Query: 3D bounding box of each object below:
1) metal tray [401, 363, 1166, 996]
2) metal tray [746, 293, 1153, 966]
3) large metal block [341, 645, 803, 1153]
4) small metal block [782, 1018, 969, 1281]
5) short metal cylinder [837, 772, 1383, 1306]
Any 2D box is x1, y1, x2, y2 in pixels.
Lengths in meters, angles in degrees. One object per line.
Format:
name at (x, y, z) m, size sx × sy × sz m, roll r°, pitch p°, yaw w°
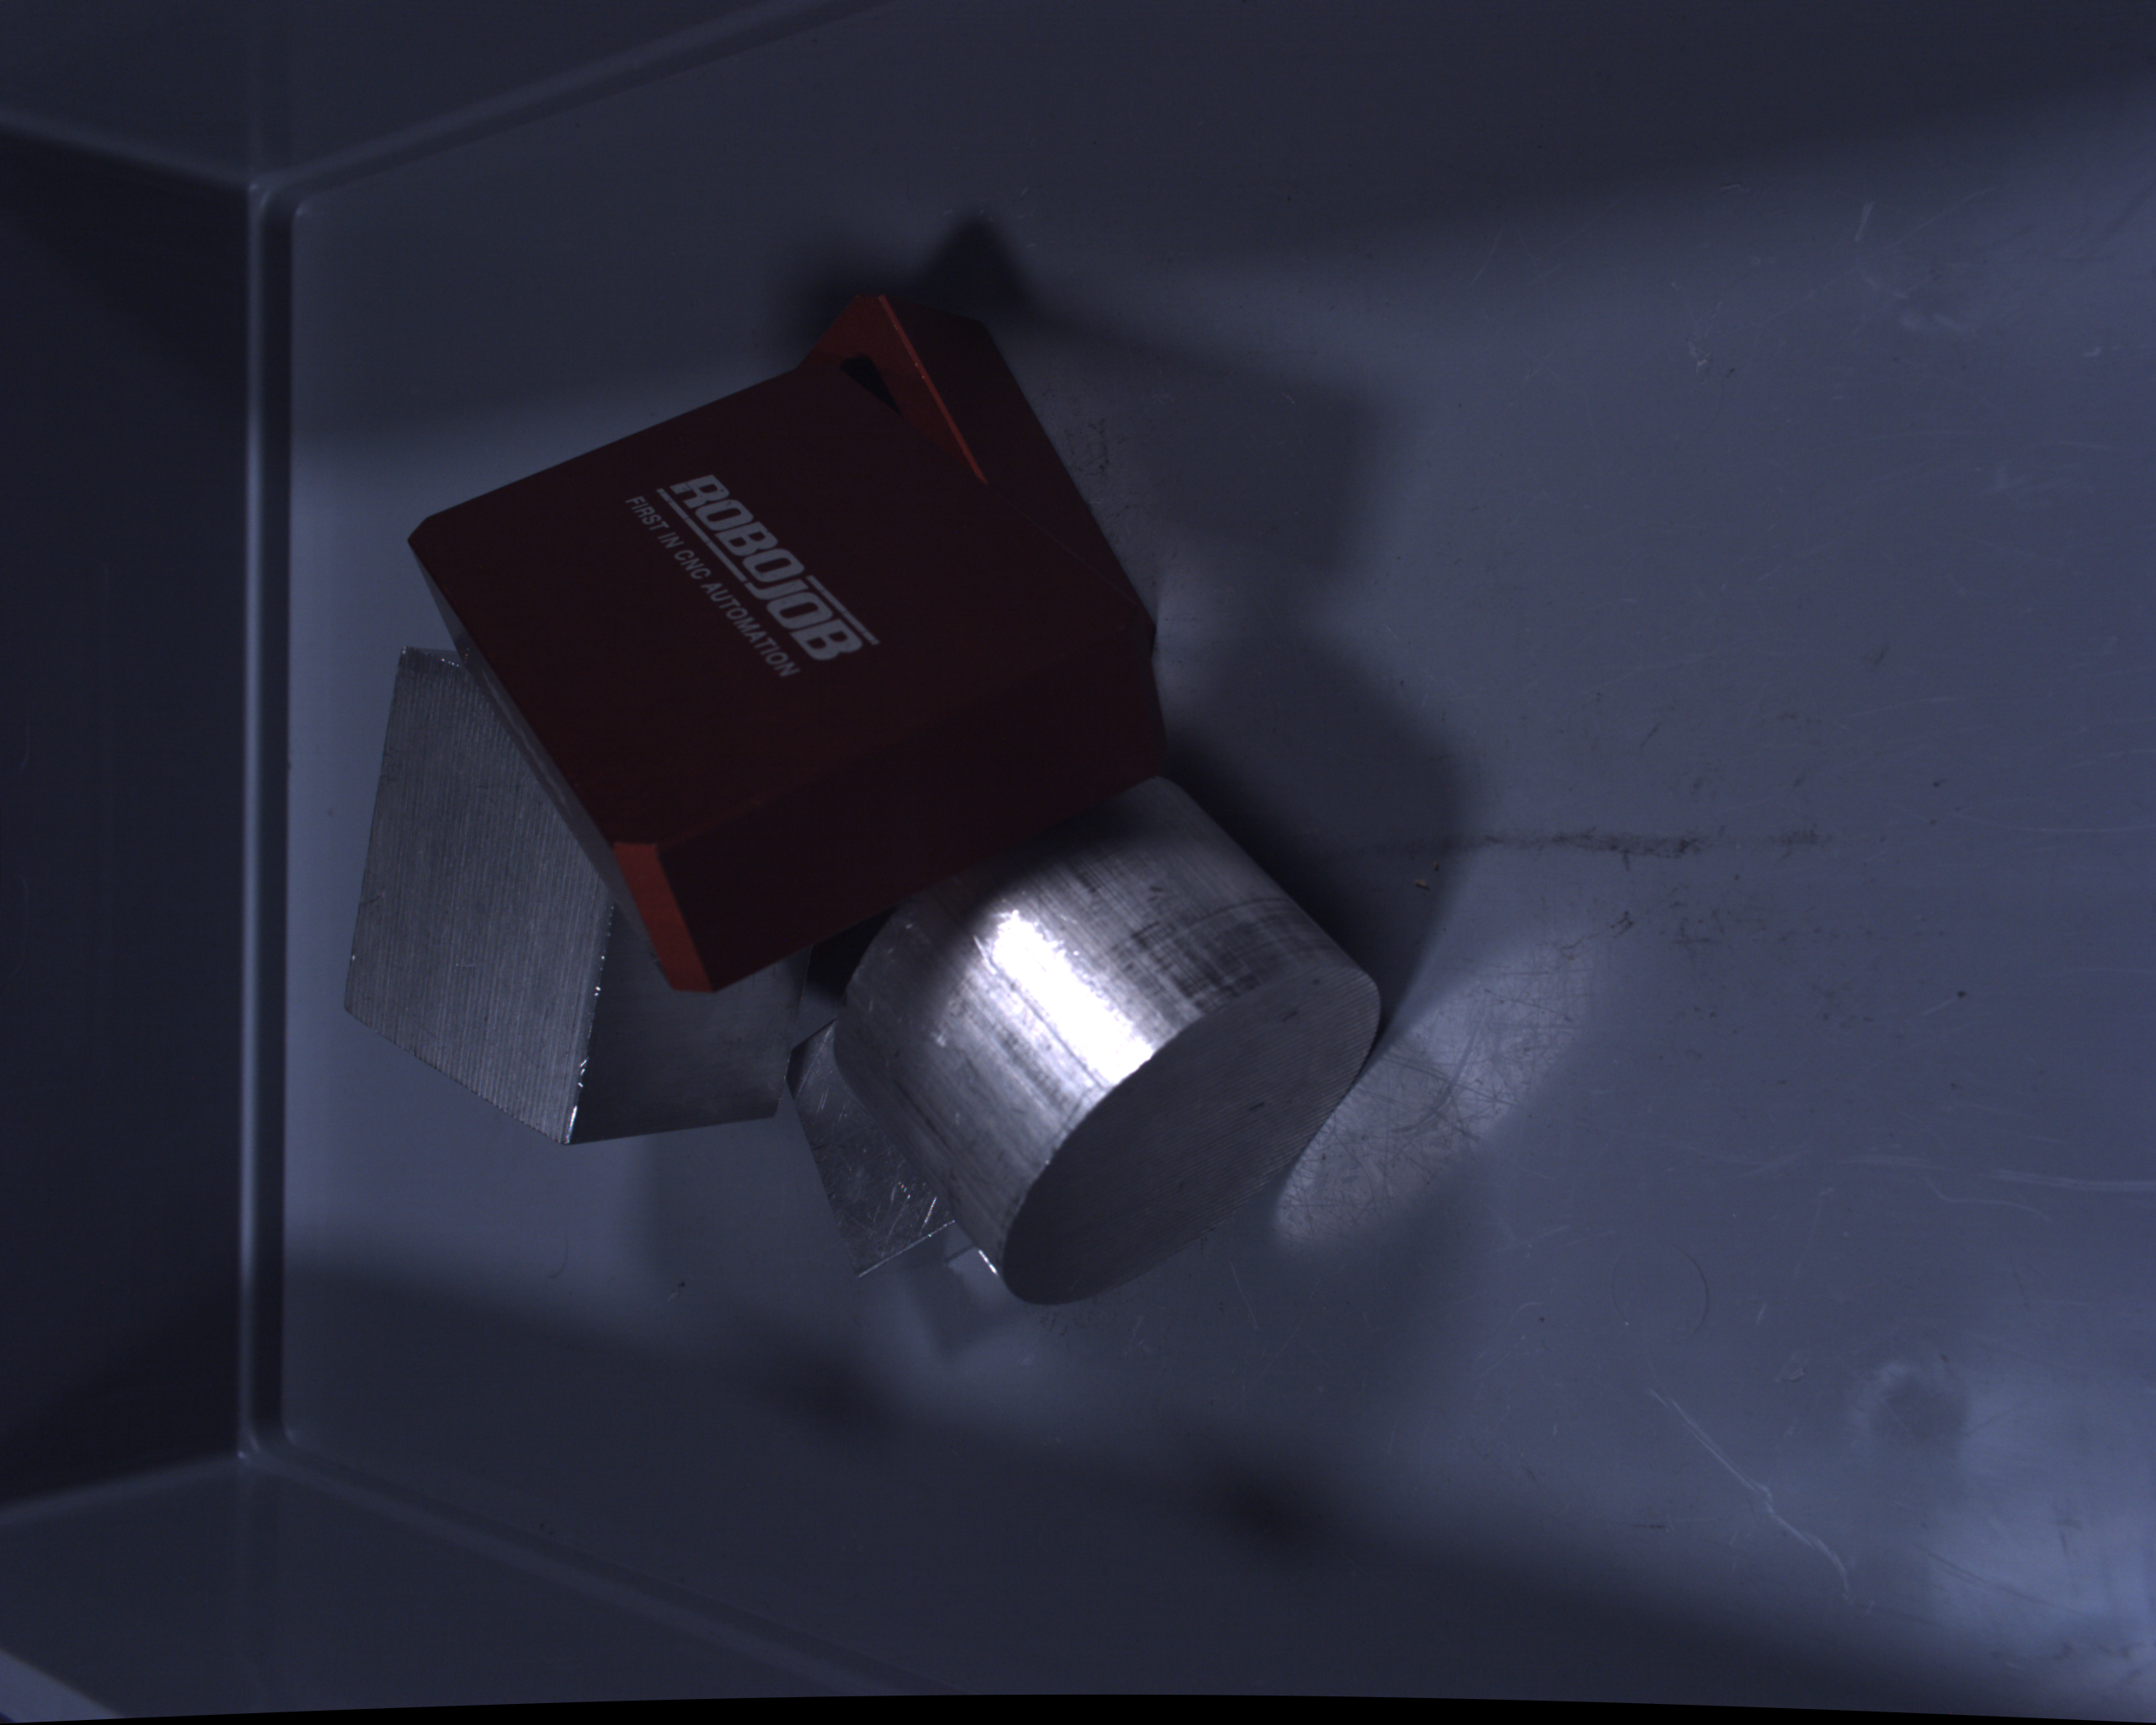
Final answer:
metal tray at (-0.056, -0.039, 0.368) m, size 0.130 × 0.091 × 0.030 m, roll 45°, pitch 156°, yaw 46°
metal tray at (-0.053, -0.043, 0.443) m, size 0.129 × 0.030 × 0.090 m, roll -41°, pitch 66°, yaw 32°
large metal block at (-0.101, 0.005, 0.427) m, size 0.080 × 0.050 × 0.079 m, roll 21°, pitch 103°, yaw 37°
small metal block at (-0.029, 0.051, 0.427) m, size 0.050 × 0.025 × 0.050 m, roll -35°, pitch 68°, yaw 34°
short metal cylinder at (0.006, 0.031, 0.363) m, size 0.050 × 0.081 × 0.080 m, roll 47°, pitch 118°, yaw 29°
